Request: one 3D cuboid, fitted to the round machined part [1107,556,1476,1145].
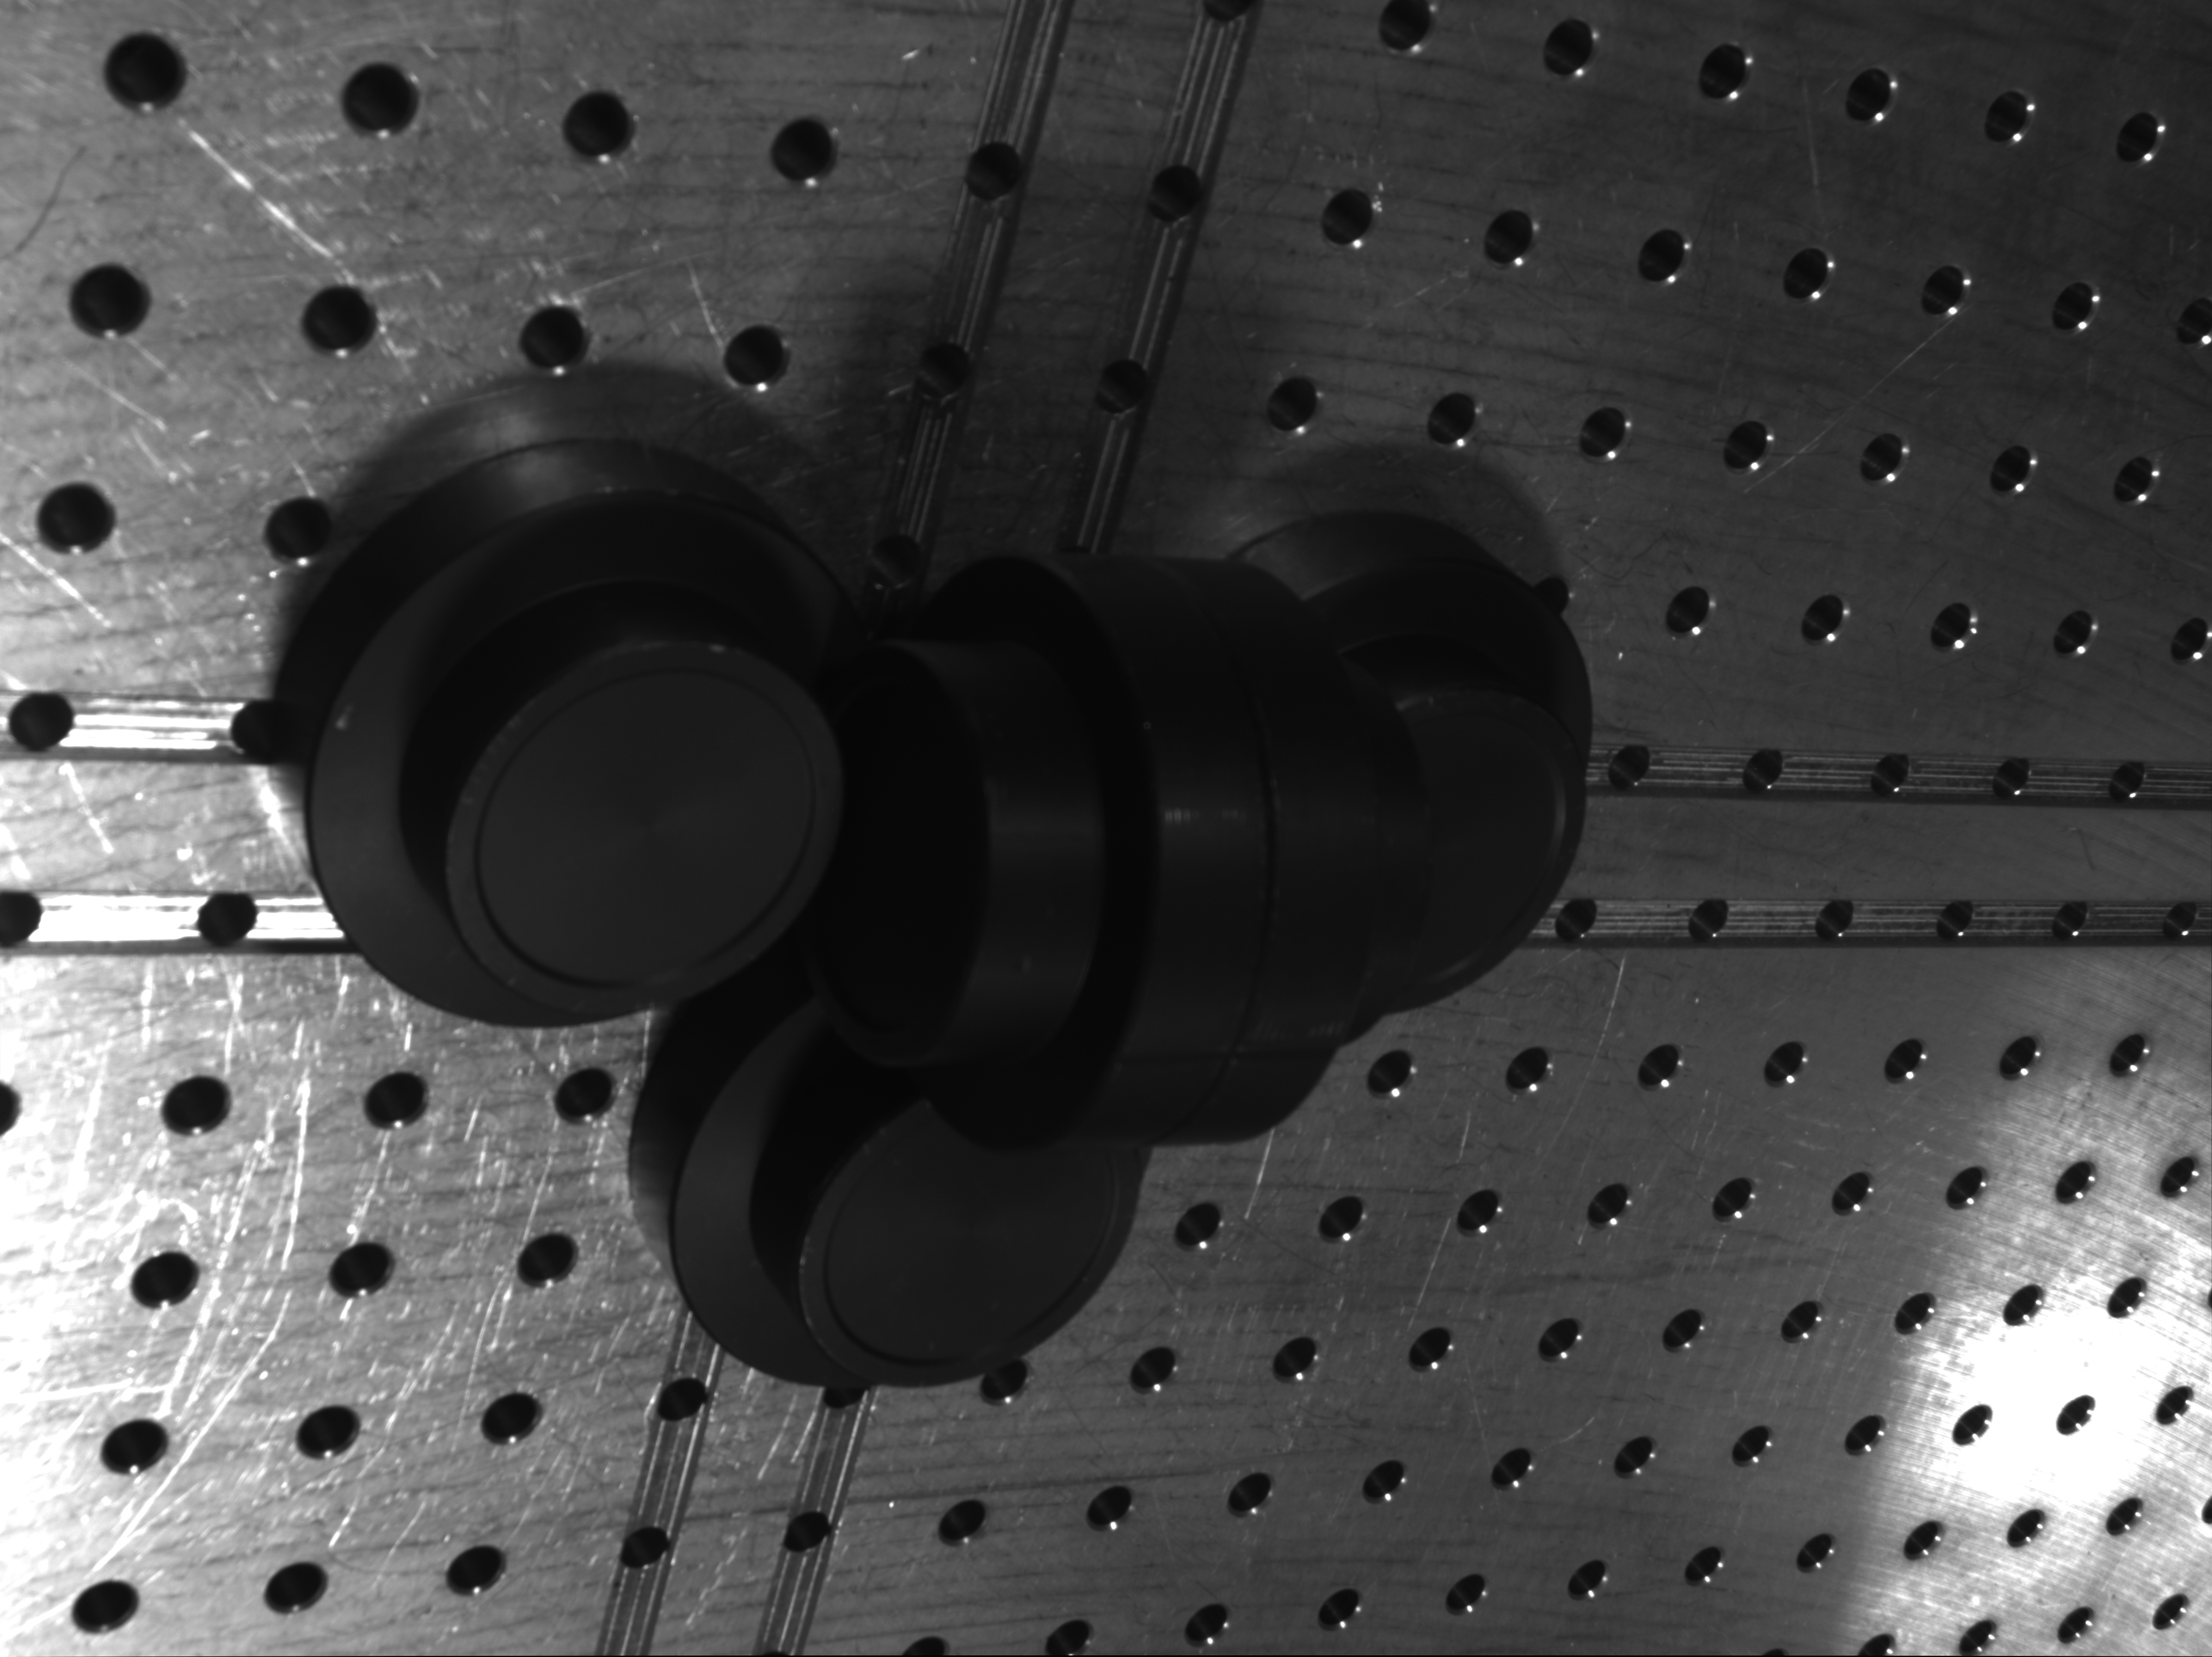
[{"bbox_3d":[0.026,0.003,0.616,0.042,0.098,0.098,-1,118,-30],"label":"round machined part"}]

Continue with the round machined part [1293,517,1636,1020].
[{"bbox_3d":[0.056,-0.004,0.672,0.098,0.042,0.098,-15,125,-22],"label":"round machined part"}]

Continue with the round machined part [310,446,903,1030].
[{"bbox_3d":[-0.075,-0.009,0.593,0.098,0.042,0.098,-15,125,-22],"label":"round machined part"}]

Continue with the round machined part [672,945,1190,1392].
[{"bbox_3d":[-0.026,0.063,0.666,0.098,0.042,0.098,-15,125,-22],"label":"round machined part"}]

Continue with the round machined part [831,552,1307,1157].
[{"bbox_3d":[-0.012,0.004,0.594,0.042,0.098,0.098,1,117,-31],"label":"round machined part"}]
